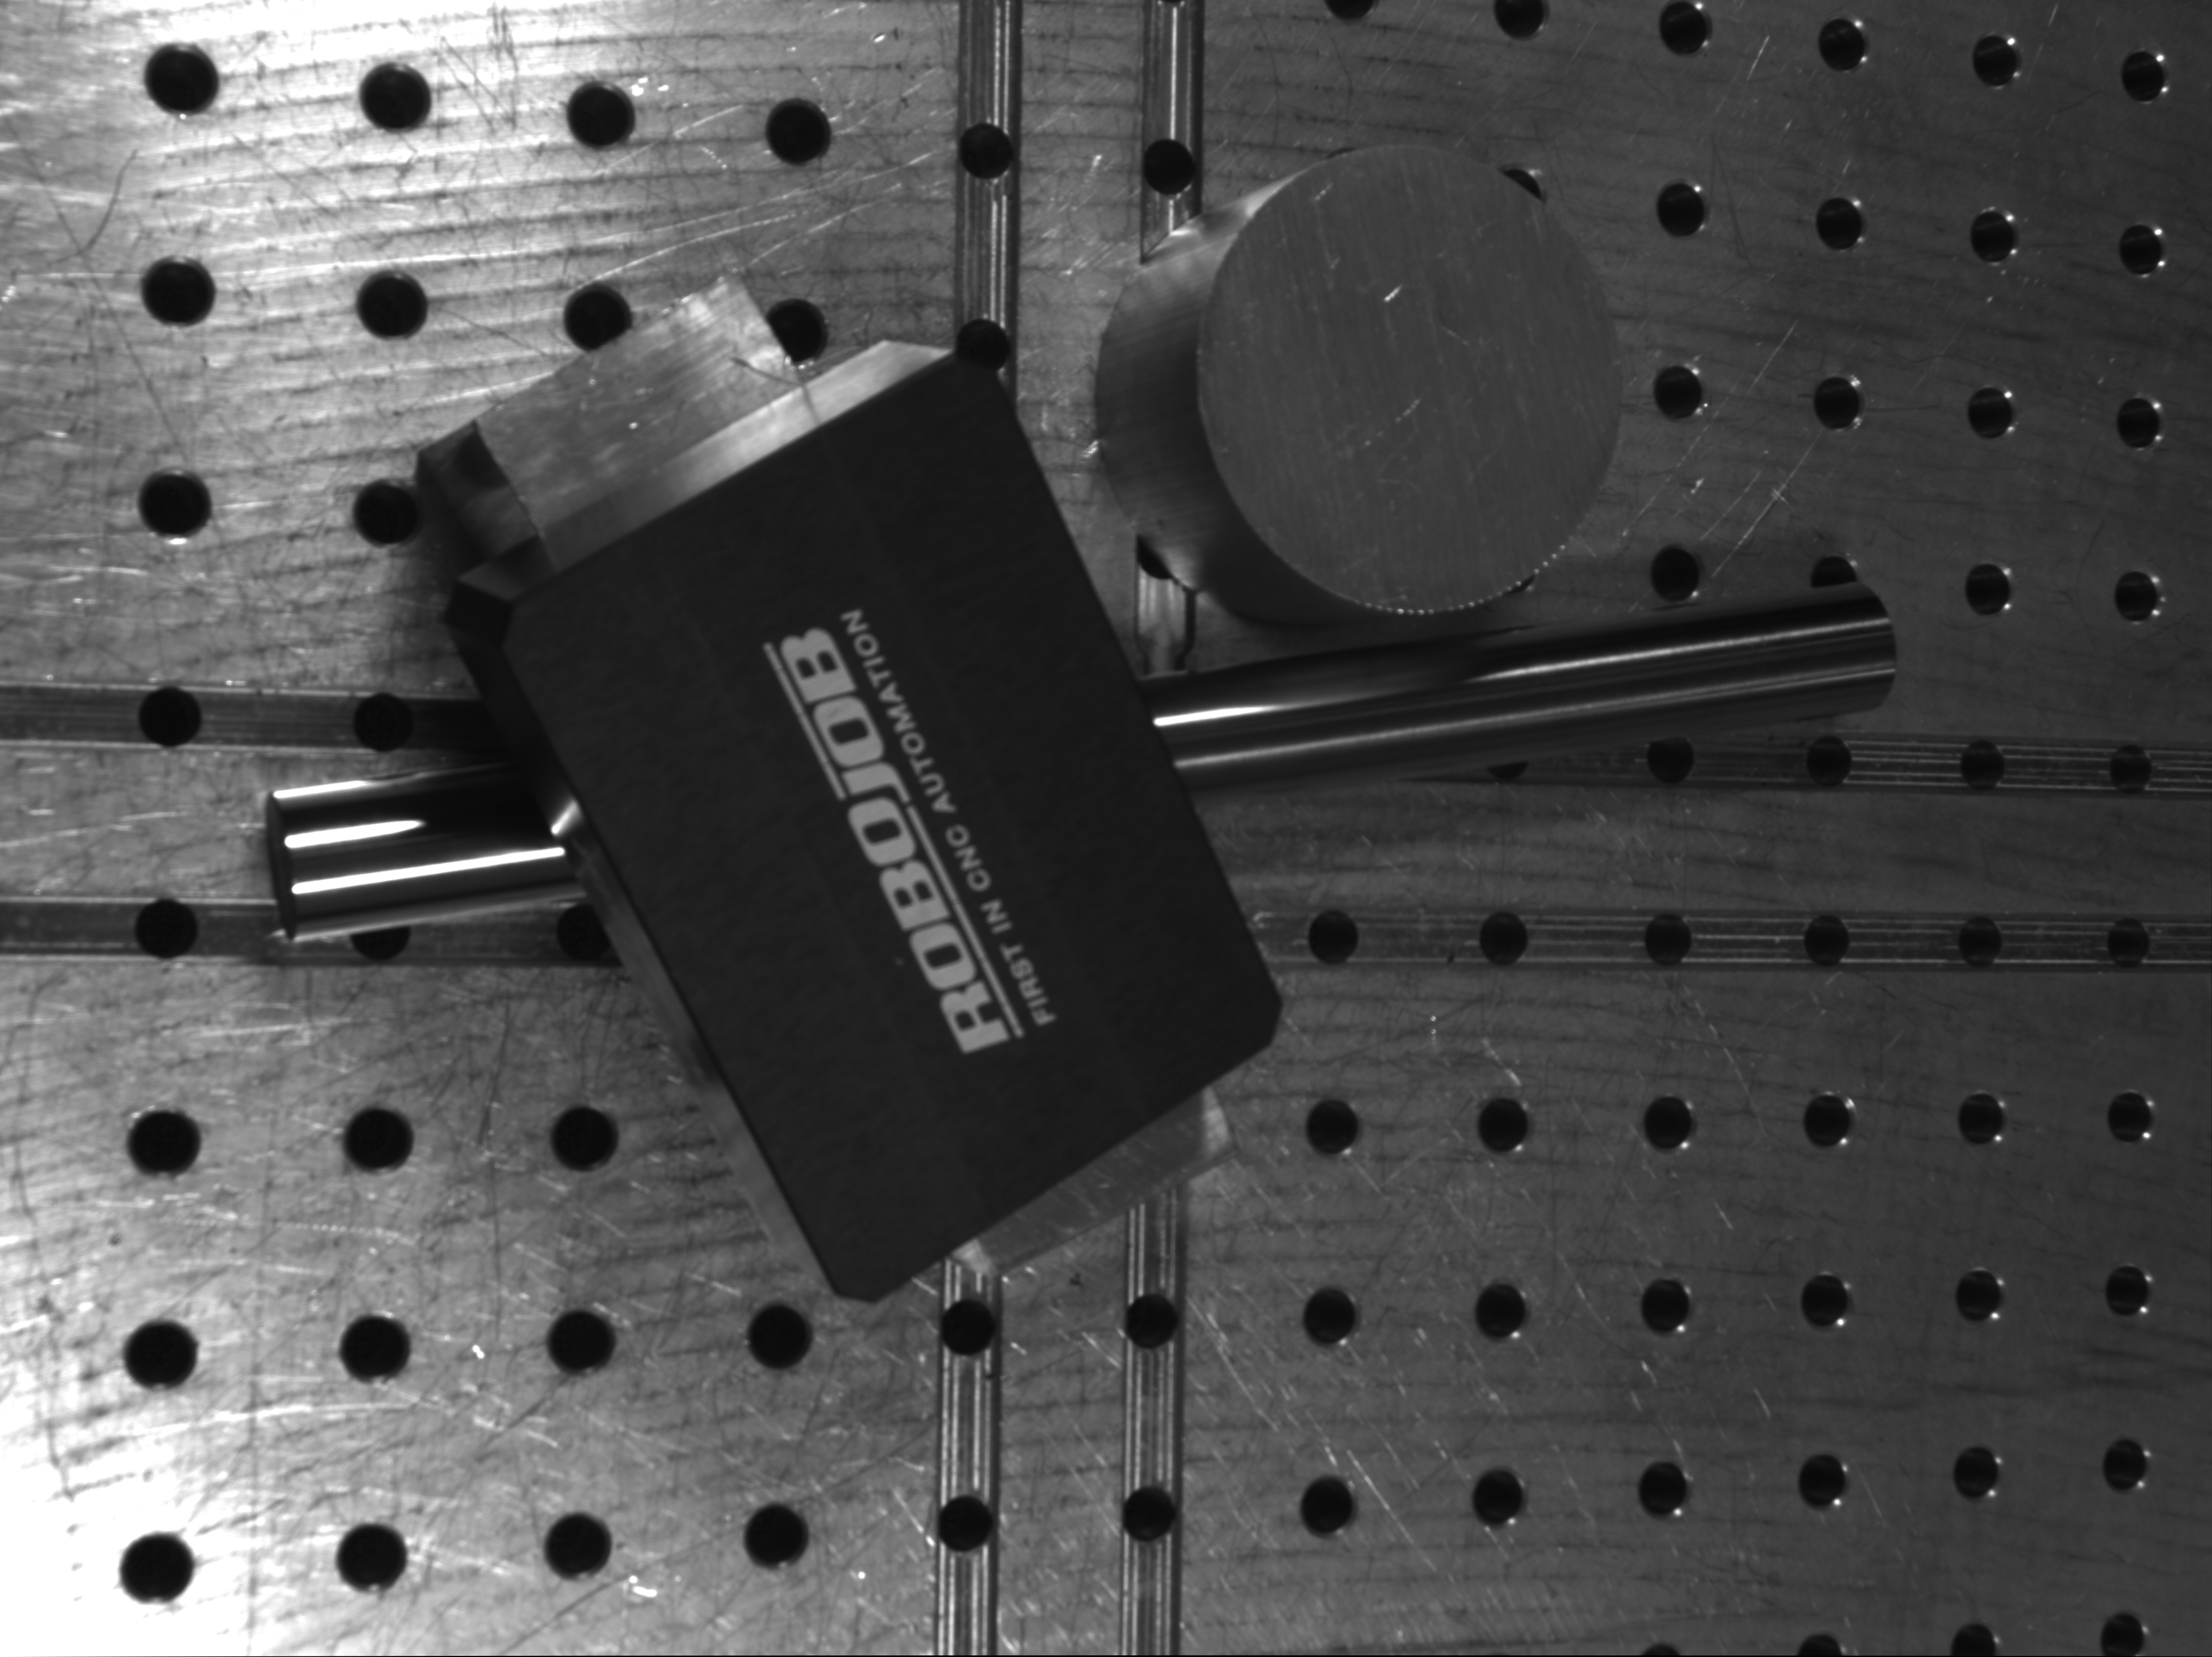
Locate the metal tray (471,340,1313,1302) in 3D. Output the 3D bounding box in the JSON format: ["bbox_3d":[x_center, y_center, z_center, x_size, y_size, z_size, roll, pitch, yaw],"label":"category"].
[{"bbox_3d":[-0.032,-0.001,0.591,0.090,0.030,0.130,-32,111,-17],"label":"metal tray"}]

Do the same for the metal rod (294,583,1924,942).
[{"bbox_3d":[0.010,-0.014,0.649,0.301,0.025,0.025,-8,93,-20],"label":"metal rod"}]

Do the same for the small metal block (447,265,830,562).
[{"bbox_3d":[-0.077,-0.066,0.604,0.050,0.050,0.025,-33,101,-17],"label":"small metal block"}]

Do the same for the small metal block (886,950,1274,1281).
[{"bbox_3d":[-0.006,0.045,0.642,0.050,0.025,0.050,-25,98,-18],"label":"small metal block"}]

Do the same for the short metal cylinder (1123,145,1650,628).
[{"bbox_3d":[0.049,-0.077,0.650,0.080,0.050,0.080,0,90,-20],"label":"short metal cylinder"}]
